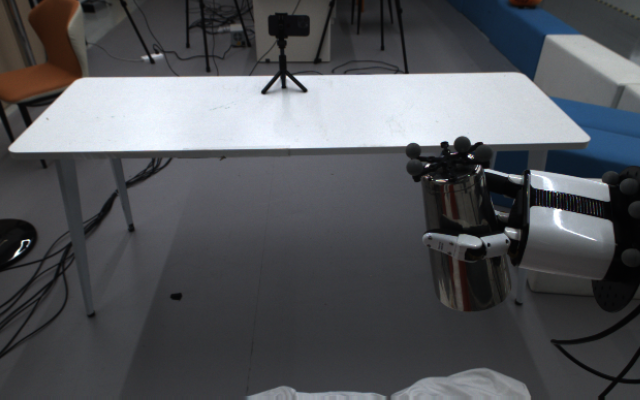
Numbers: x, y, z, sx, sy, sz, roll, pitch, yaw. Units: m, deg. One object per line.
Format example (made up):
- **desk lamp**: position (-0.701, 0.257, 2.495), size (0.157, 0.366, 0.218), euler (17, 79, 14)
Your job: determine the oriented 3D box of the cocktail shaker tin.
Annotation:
- **cocktail shaker tin**: position (0.166, 0.035, 0.561), size (0.093, 0.170, 0.093), euler (-15, 28, 8)
